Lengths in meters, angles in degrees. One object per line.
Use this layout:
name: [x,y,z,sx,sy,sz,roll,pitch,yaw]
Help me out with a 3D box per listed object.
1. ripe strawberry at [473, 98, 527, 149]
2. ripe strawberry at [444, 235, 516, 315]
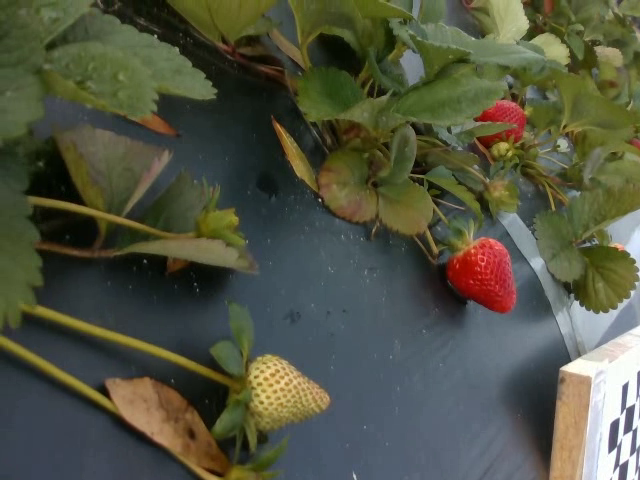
ripe strawberry: [0.150,-0.106,0.486,0.062,0.043,0.042,25,-7,-39]
ripe strawberry: [0.089,0.018,0.306,0.036,0.046,0.040,-18,-27,-35]
